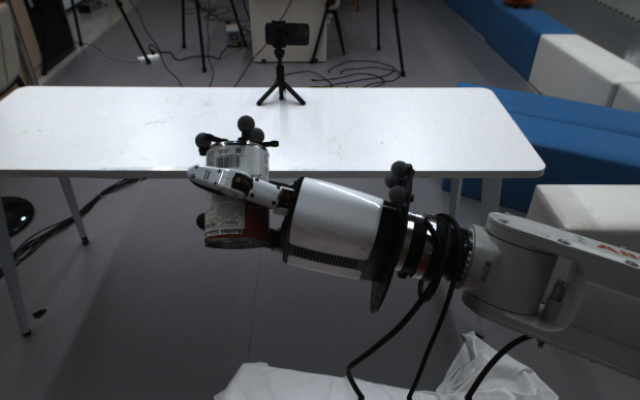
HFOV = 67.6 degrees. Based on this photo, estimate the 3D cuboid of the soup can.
[{"bbox_3d":[-0.084,-0.003,0.506,0.067,0.067,0.101,-1,77,-5],"label":"soup can"}]
